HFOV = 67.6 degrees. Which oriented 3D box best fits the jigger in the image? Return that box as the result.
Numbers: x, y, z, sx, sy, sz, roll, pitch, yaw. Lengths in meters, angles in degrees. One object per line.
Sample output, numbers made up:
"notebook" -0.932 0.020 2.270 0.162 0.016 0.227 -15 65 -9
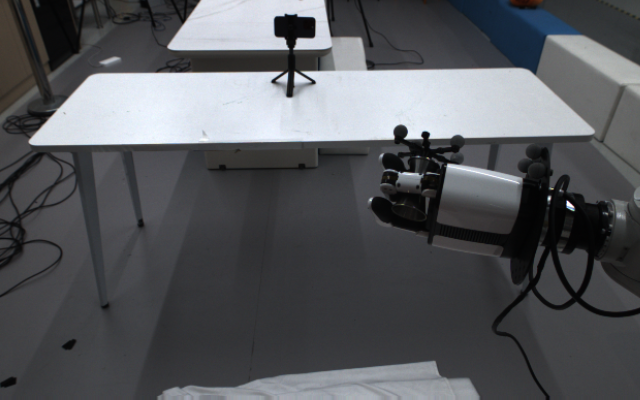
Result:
"jigger" 0.120 -0.015 0.586 0.043 0.043 0.071 13 69 15
